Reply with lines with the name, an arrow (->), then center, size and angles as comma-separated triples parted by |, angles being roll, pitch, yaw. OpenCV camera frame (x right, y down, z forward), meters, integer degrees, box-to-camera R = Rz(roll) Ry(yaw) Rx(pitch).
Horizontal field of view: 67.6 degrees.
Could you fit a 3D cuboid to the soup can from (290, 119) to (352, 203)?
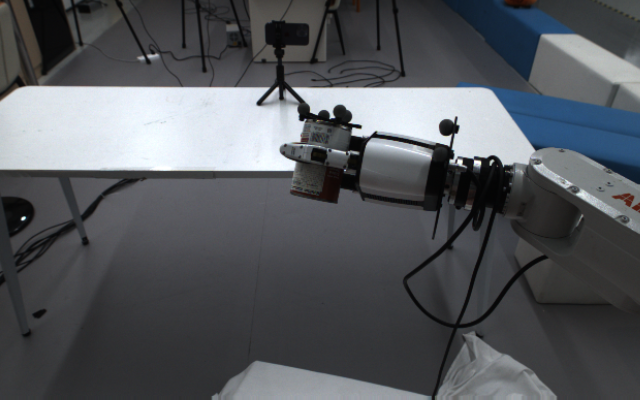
soup can -> 0.002, -0.051, 0.654 | 0.067, 0.101, 0.067 | 12, 2, 0
